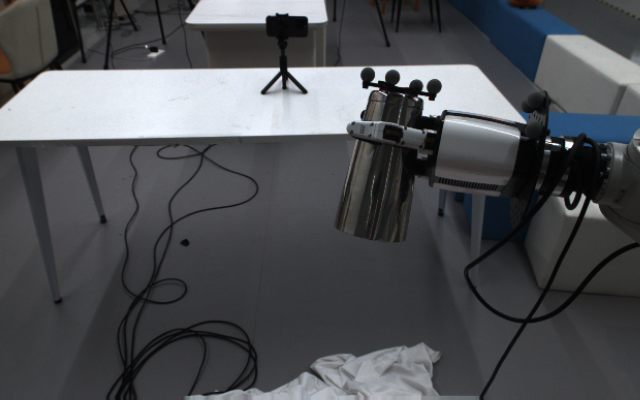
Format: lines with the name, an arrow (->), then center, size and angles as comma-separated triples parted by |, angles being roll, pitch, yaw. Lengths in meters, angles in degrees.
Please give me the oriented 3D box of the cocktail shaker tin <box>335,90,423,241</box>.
cocktail shaker tin -> 0.081, -0.046, 0.597 | 0.093, 0.170, 0.093 | 10, 9, -2
